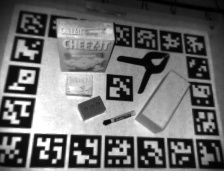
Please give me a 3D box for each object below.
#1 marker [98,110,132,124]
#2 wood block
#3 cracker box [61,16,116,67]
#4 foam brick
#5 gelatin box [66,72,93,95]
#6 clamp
[{"bbox_3d":[0.011,0.110,0.749,0.122,0.019,0.019,-15,78,-16],"label":"marker"},{"bbox_3d":[0.178,0.051,0.770,0.089,0.091,0.207,37,67,5],"label":"wood block"},{"bbox_3d":[-0.080,-0.132,0.700,0.165,0.213,0.072,1,71,-12],"label":"cracker box"},{"bbox_3d":[-0.074,0.069,0.729,0.078,0.051,0.052,-20,79,-16],"label":"foam brick"},{"bbox_3d":[-0.114,-0.008,0.759,0.090,0.030,0.073,4,74,-10],"label":"gelatin box"},{"bbox_3d":[0.141,-0.088,0.830,0.204,0.036,0.165,-26,80,-18],"label":"clamp"}]
